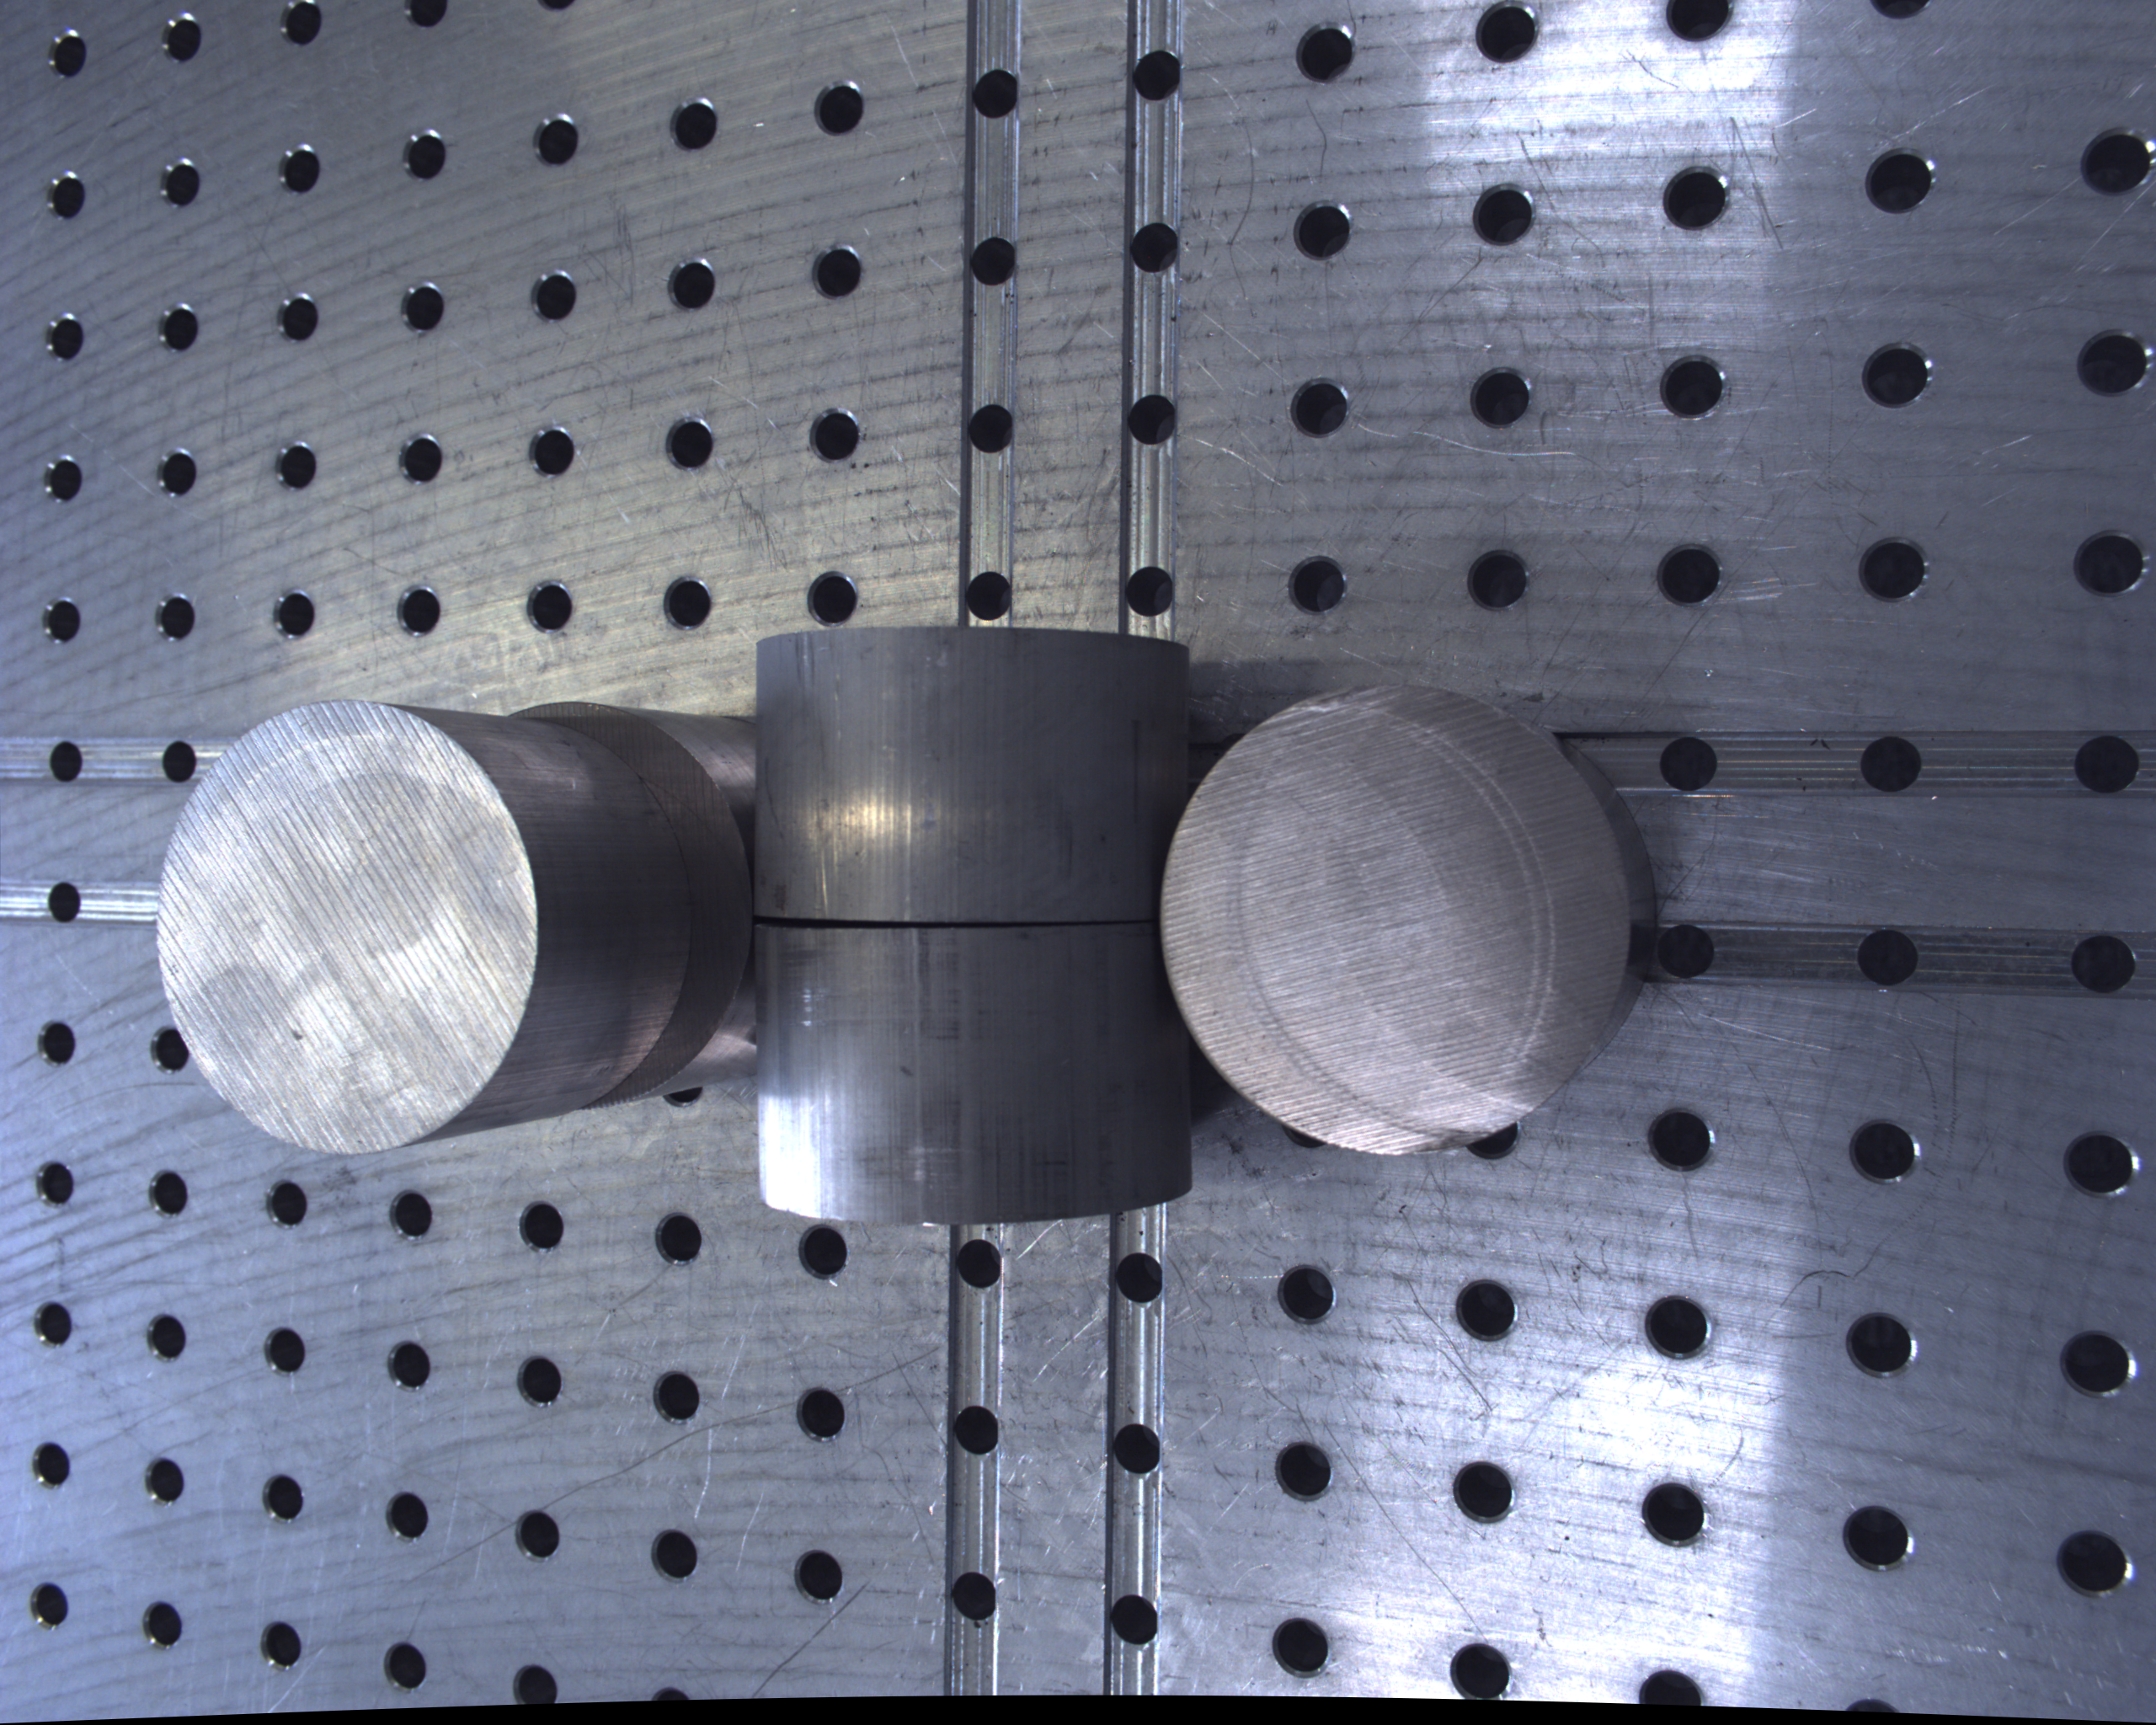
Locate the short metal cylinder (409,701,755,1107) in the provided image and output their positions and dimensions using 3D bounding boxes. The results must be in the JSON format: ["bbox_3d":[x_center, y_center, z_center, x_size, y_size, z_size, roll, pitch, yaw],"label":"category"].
[{"bbox_3d":[-0.090,0.008,0.431,0.080,0.050,0.079,0,90,19],"label":"short metal cylinder"}]

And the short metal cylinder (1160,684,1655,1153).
[{"bbox_3d":[0.061,0.009,0.377,0.080,0.050,0.079,0,90,19],"label":"short metal cylinder"}]

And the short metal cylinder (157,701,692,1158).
[{"bbox_3d":[-0.120,0.011,0.387,0.080,0.050,0.079,0,90,20],"label":"short metal cylinder"}]

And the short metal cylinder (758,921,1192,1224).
[{"bbox_3d":[-0.019,0.036,0.390,0.080,0.080,0.050,-1,90,20],"label":"short metal cylinder"}]

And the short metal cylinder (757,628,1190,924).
[{"bbox_3d":[-0.019,-0.015,0.390,0.080,0.080,0.050,1,91,20],"label":"short metal cylinder"}]
